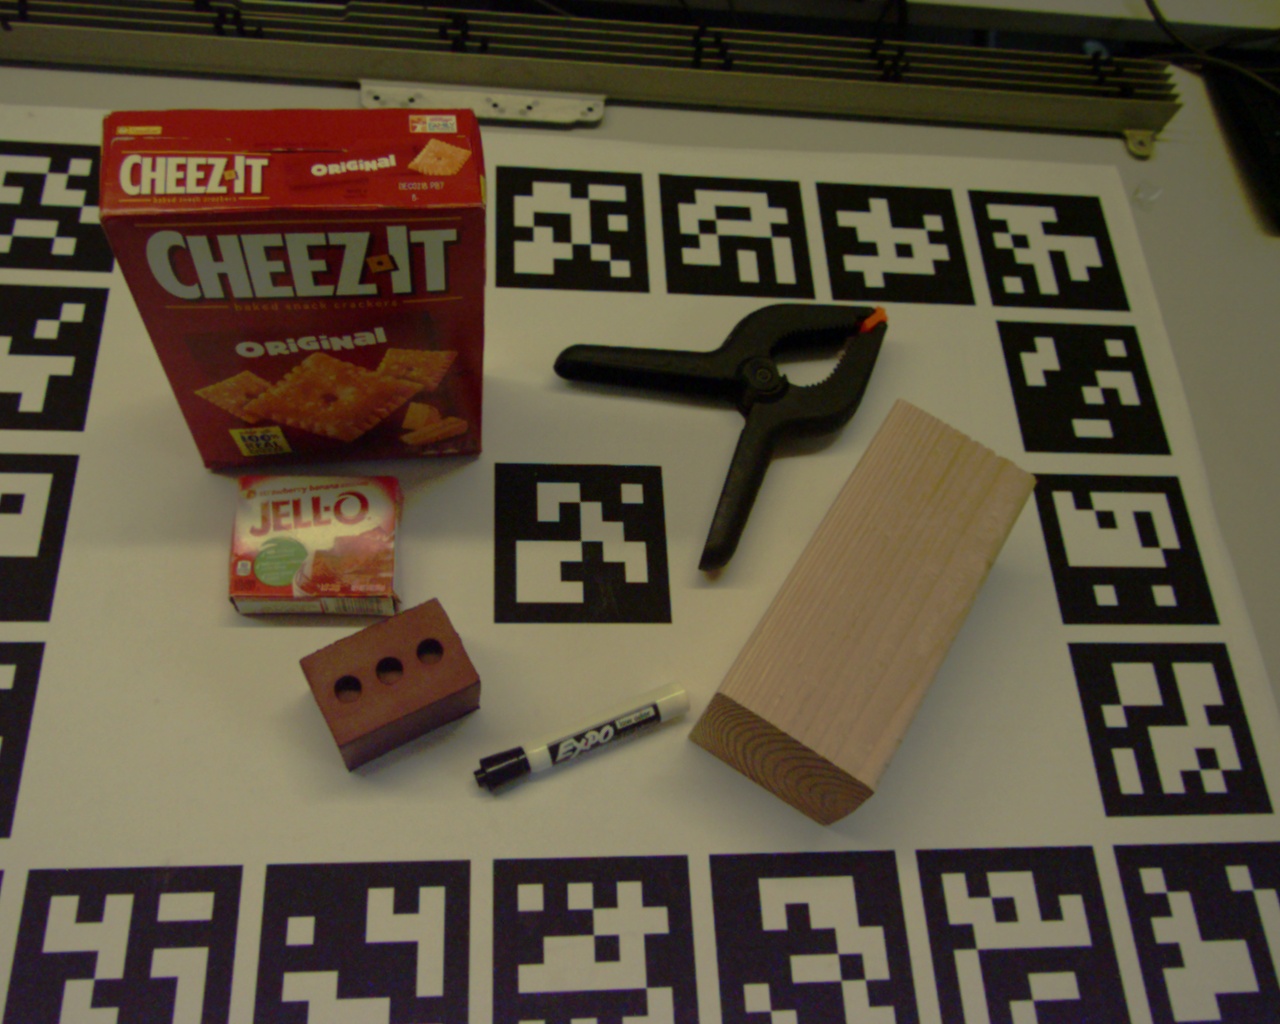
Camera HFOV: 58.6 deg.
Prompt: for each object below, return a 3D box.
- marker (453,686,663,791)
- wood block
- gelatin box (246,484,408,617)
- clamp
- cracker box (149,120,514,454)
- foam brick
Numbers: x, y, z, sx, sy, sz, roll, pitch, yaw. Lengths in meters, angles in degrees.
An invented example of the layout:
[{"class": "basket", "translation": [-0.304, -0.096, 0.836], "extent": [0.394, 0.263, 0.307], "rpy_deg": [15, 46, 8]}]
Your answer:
[{"class": "marker", "translation": [-0.046, 0.127, 0.636], "extent": [0.120, 0.019, 0.020], "rpy_deg": [-19, 72, -15]}, {"class": "wood block", "translation": [0.116, 0.055, 0.655], "extent": [0.090, 0.091, 0.205], "rpy_deg": [31, 64, 9]}, {"class": "gelatin box", "translation": [-0.180, 0.022, 0.663], "extent": [0.089, 0.030, 0.073], "rpy_deg": [-1, 68, -8]}, {"class": "clamp", "translation": [0.066, -0.074, 0.730], "extent": [0.201, 0.036, 0.166], "rpy_deg": [-30, 74, -18]}, {"class": "cracker box", "translation": [-0.157, -0.109, 0.614], "extent": [0.163, 0.214, 0.072], "rpy_deg": [-2, 66, -11]}, {"class": "foam brick", "translation": [-0.134, 0.092, 0.623], "extent": [0.077, 0.051, 0.053], "rpy_deg": [-24, 74, -16]}]
